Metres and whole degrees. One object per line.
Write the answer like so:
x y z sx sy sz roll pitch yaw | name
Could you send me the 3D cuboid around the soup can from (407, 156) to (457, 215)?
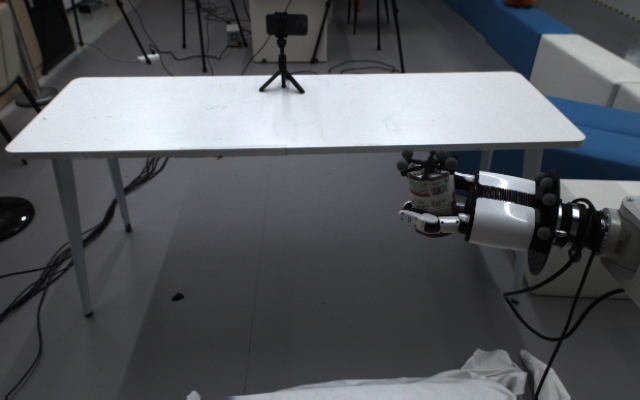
0.173 -0.004 0.733 0.067 0.101 0.067 -11 27 6 | soup can
